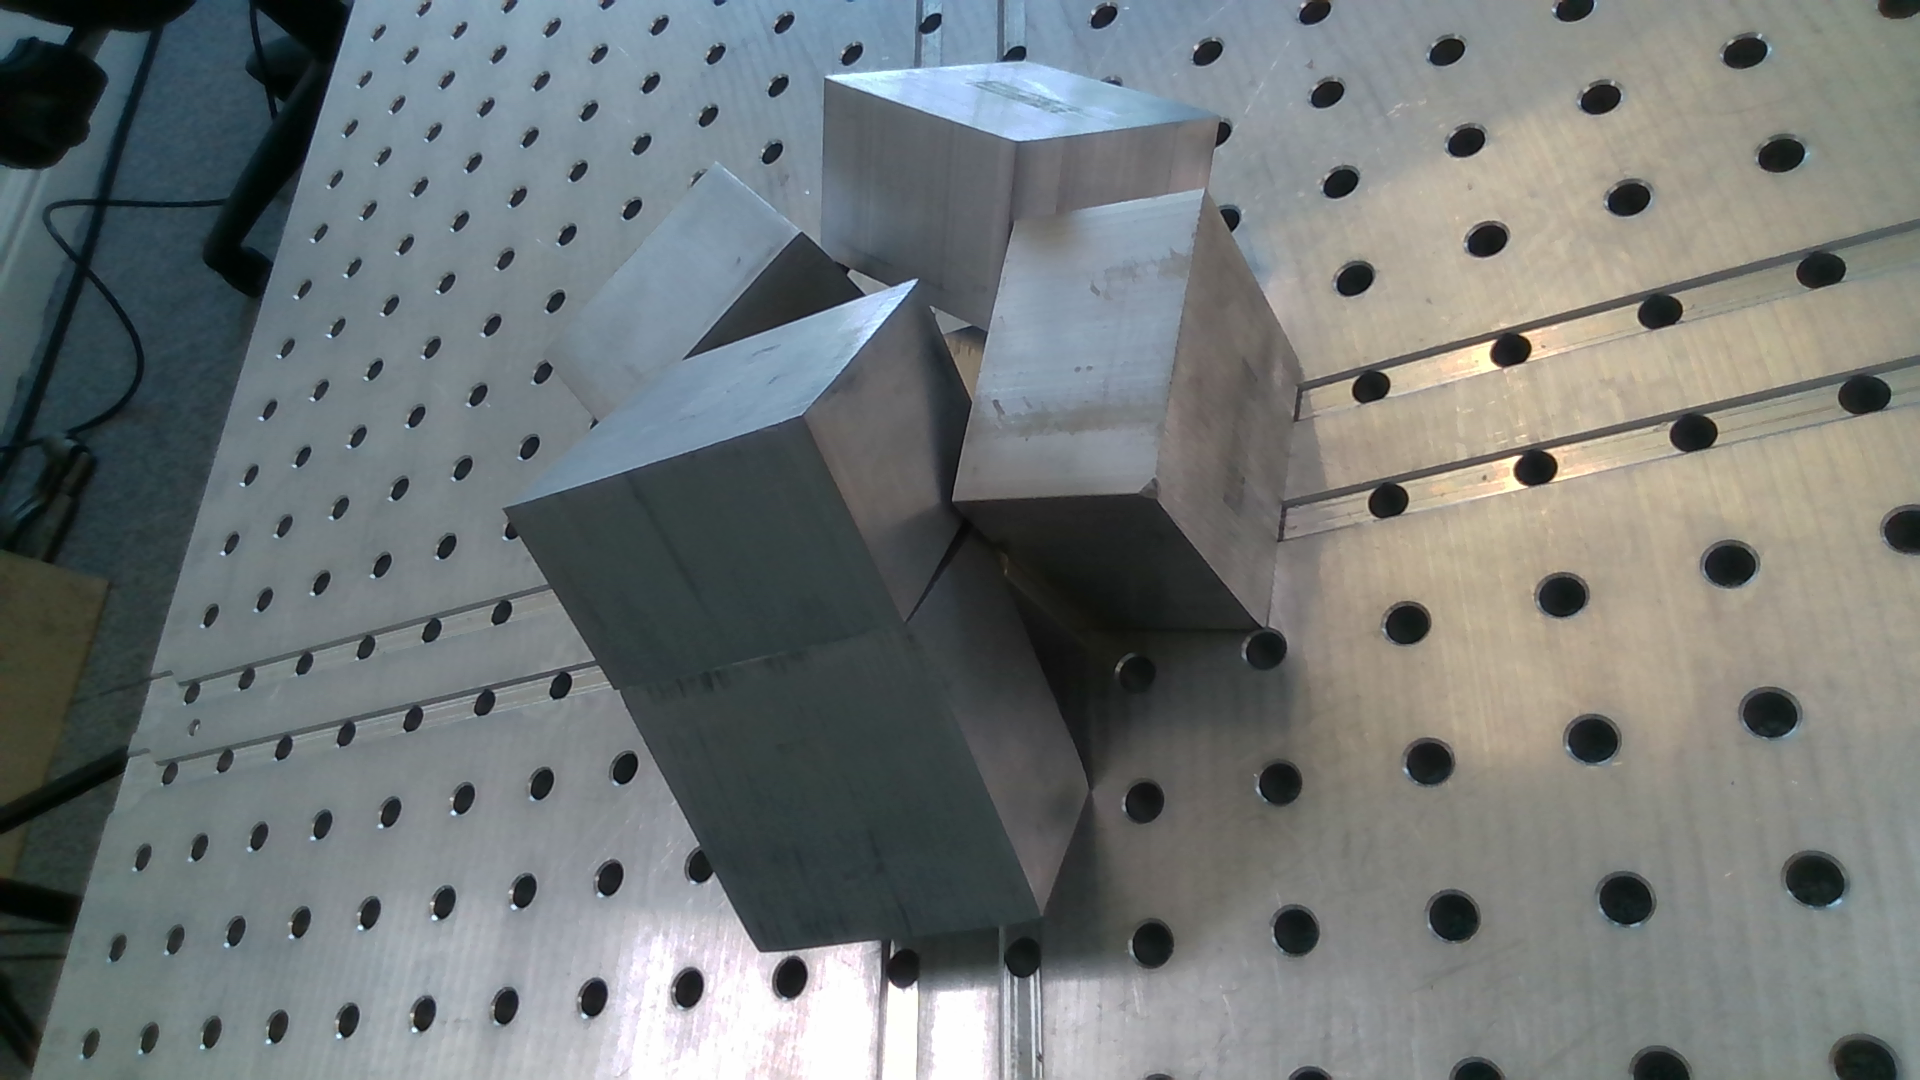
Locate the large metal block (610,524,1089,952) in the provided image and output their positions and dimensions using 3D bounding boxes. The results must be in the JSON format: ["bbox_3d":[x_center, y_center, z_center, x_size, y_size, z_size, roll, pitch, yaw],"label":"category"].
[{"bbox_3d":[-0.024,0.049,0.338,0.080,0.080,0.050,-14,21,24],"label":"large metal block"}]

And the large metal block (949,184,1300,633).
[{"bbox_3d":[0.046,-0.029,0.348,0.050,0.080,0.080,-1,65,31],"label":"large metal block"}]

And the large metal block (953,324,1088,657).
[{"bbox_3d":[-0.012,-0.008,0.391,0.080,0.050,0.080,-14,59,25],"label":"large metal block"}]

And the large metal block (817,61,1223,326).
[{"bbox_3d":[0.015,-0.103,0.397,0.080,0.080,0.050,32,128,39],"label":"large metal block"}]

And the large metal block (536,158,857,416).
[{"bbox_3d":[-0.068,-0.055,0.430,0.080,0.080,0.050,-48,52,2],"label":"large metal block"}]

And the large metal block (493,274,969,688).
[{"bbox_3d":[-0.046,-0.015,0.327,0.080,0.050,0.080,-13,25,24],"label":"large metal block"}]
